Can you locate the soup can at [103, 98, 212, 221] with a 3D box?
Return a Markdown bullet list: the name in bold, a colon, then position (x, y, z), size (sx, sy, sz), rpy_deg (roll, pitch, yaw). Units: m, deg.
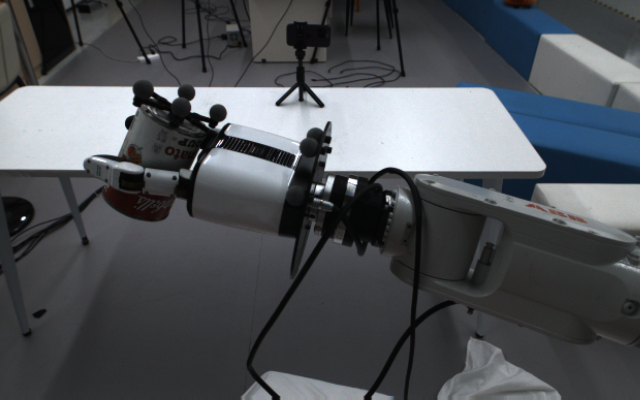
- **soup can**: position (-0.160, -0.037, 0.475), size (0.067, 0.101, 0.067), rpy_deg (28, 18, -10)
